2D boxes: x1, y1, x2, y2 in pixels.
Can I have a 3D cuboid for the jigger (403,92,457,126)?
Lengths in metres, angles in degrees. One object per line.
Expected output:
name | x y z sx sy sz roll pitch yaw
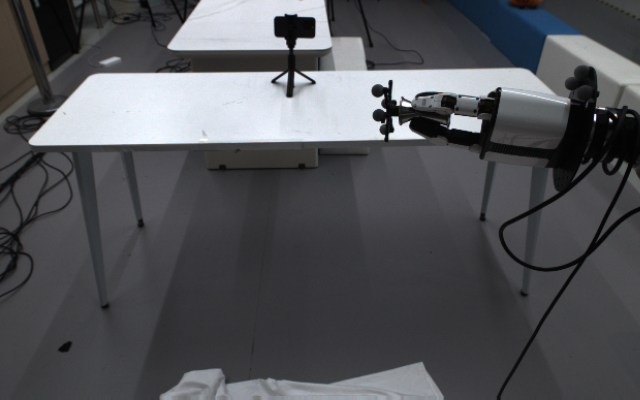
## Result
jigger | 0.154 -0.129 0.678 0.071 0.043 0.043 3 34 17
